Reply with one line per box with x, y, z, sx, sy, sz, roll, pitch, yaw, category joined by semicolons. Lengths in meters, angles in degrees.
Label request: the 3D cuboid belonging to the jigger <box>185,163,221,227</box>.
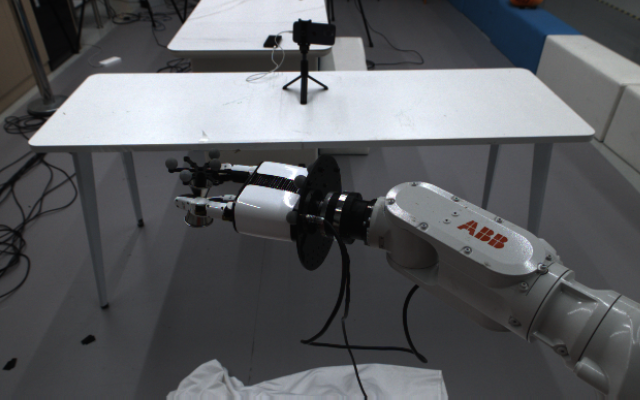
-0.179;0.001;0.719;0.043;0.071;0.043;8;31;-5;jigger
